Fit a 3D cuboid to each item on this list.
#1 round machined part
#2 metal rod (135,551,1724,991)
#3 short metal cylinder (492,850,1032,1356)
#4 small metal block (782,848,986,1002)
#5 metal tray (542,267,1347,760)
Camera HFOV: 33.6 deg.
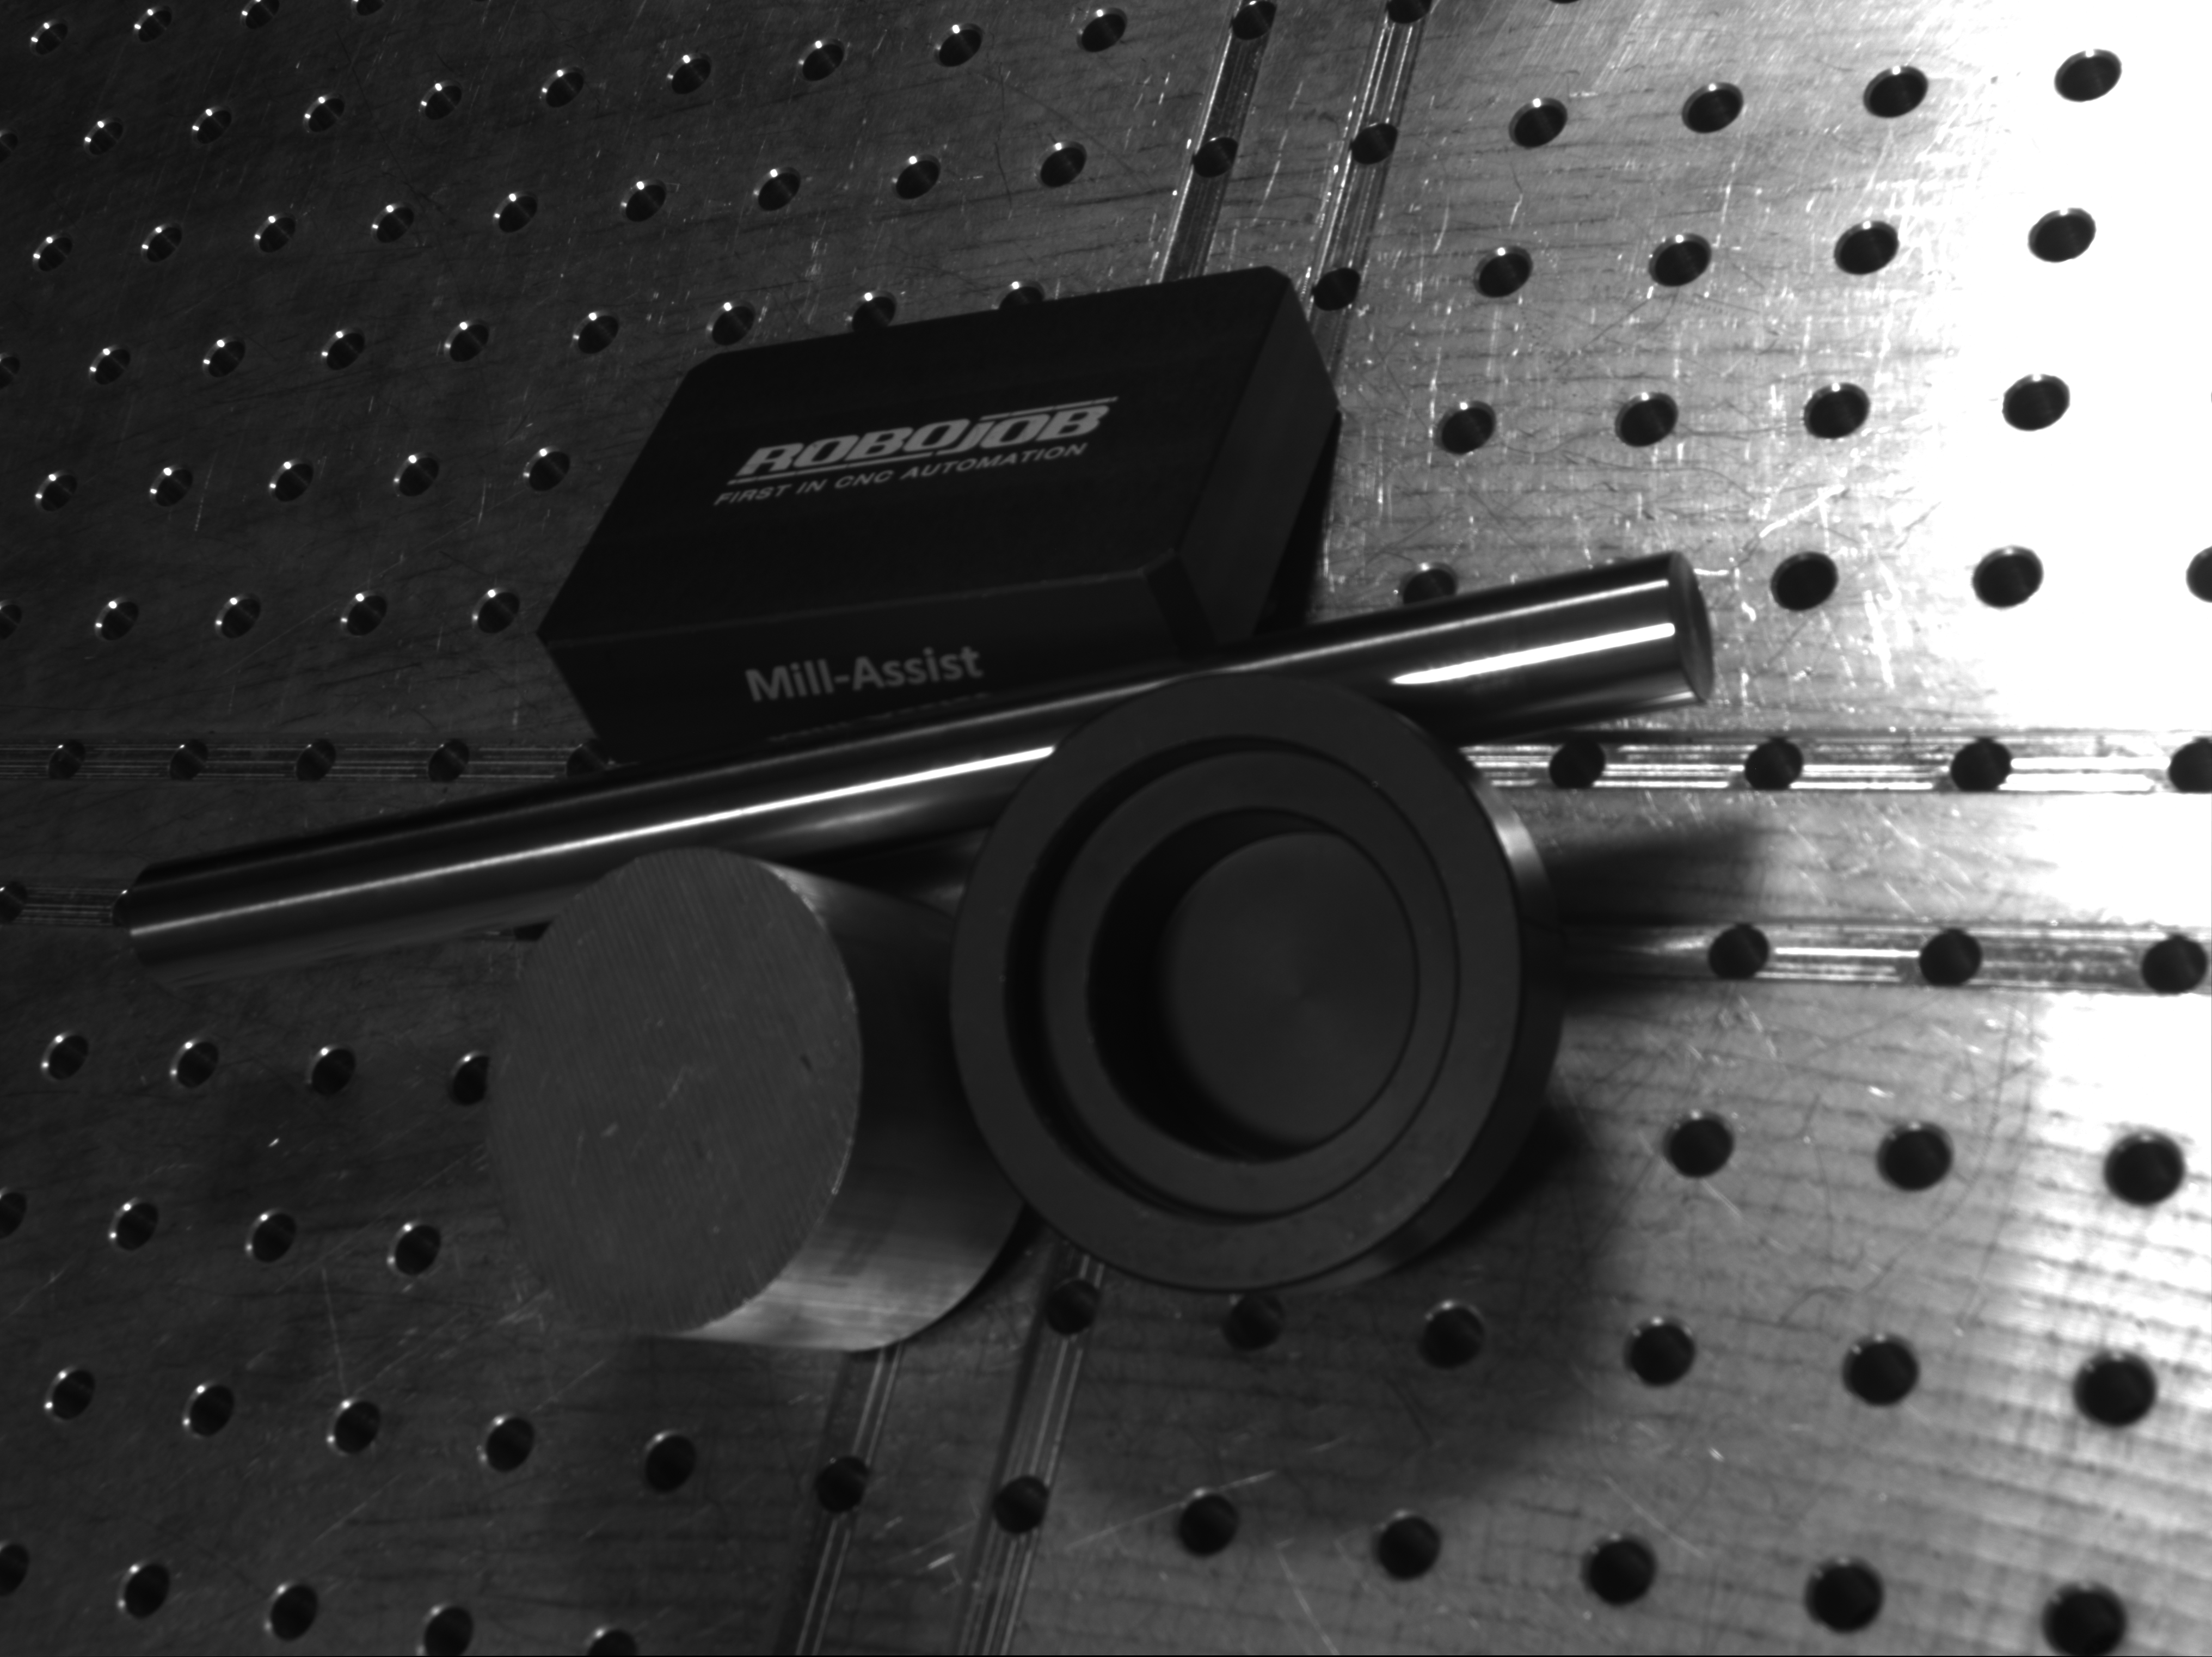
[{"bbox_3d":[0.028,0.026,0.590,0.098,0.042,0.098,-3,82,24],"label":"round machined part"},{"bbox_3d":[-0.041,-0.007,0.640,0.299,0.025,0.025,-11,57,23],"label":"metal rod"},{"bbox_3d":[-0.056,0.047,0.617,0.080,0.050,0.080,-8,76,32],"label":"short metal cylinder"},{"bbox_3d":[-0.031,0.017,0.665,0.050,0.025,0.050,19,72,36],"label":"small metal block"},{"bbox_3d":[-0.029,-0.058,0.678,0.130,0.030,0.090,-5,41,25],"label":"metal tray"}]
